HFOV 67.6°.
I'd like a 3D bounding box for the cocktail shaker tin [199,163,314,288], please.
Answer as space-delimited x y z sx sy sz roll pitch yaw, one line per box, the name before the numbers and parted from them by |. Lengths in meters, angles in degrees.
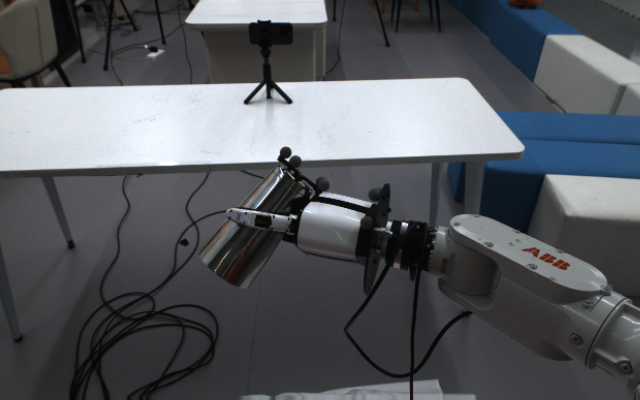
cocktail shaker tin | -0.087 0.031 0.708 0.170 0.093 0.093 -50 46 4
